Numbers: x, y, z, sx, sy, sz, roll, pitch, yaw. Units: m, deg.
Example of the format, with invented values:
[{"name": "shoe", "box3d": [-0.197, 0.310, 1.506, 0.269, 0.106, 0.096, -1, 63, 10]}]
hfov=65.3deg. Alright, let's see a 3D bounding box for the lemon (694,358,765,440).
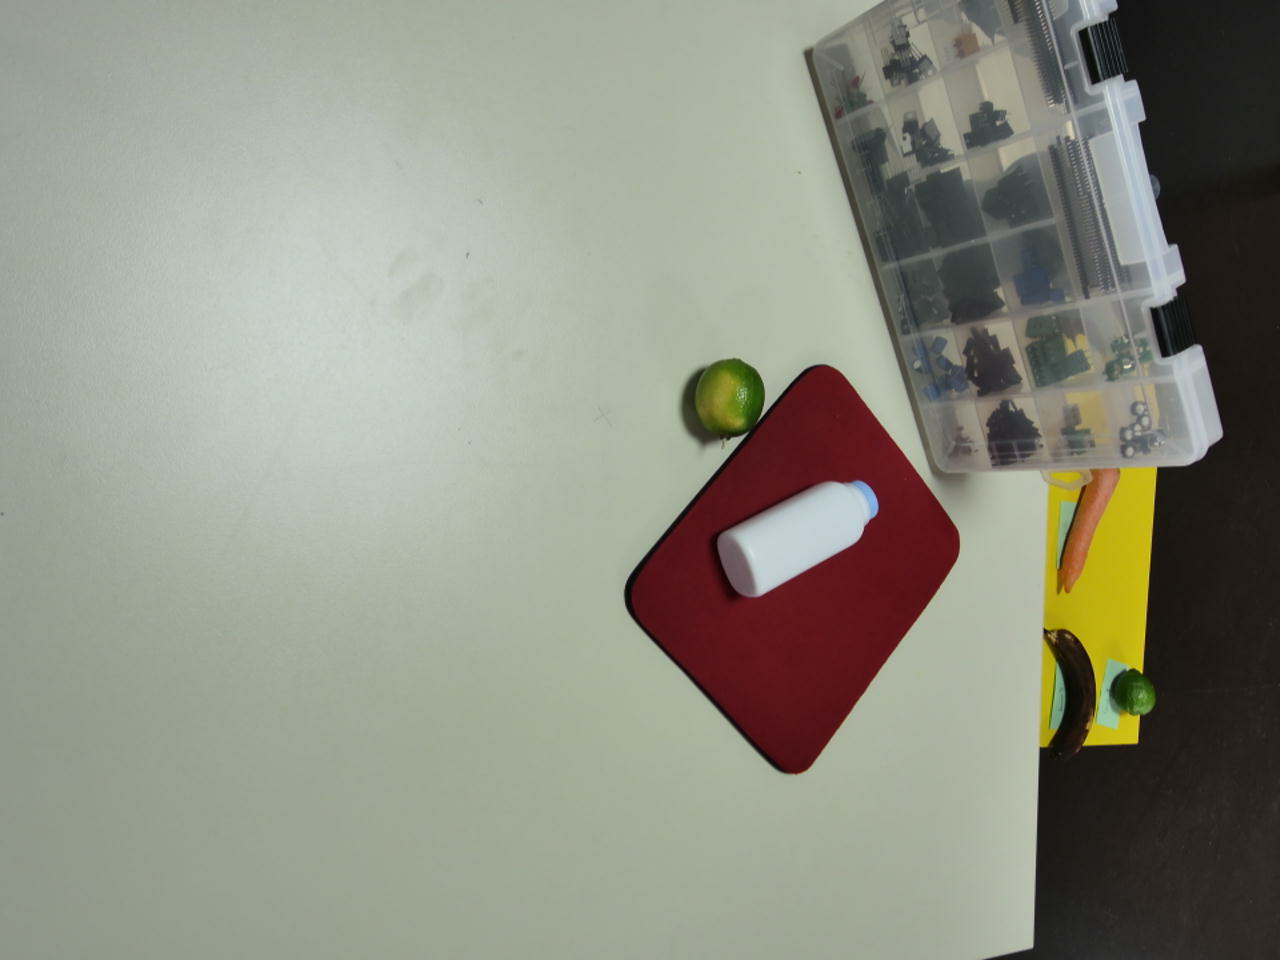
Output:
[{"name": "lemon", "box3d": [0.066, -0.060, 0.728, 0.055, 0.050, 0.054, -39, 108, -22]}]
